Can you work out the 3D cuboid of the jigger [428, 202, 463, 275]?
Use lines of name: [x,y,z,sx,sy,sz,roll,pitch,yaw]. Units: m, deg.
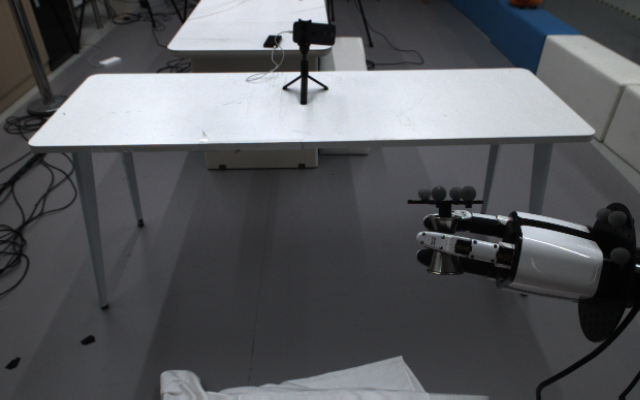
jigger: [0.151,0.053,0.591,0.043,0.071,0.043,-1,2,0]
